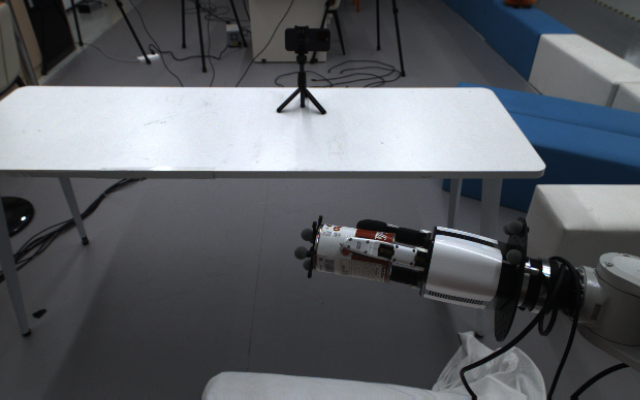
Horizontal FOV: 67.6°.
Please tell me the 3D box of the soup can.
[{"bbox_3d":[0.050,0.072,0.655,0.101,0.067,0.067,7,35,10],"label":"soup can"}]
